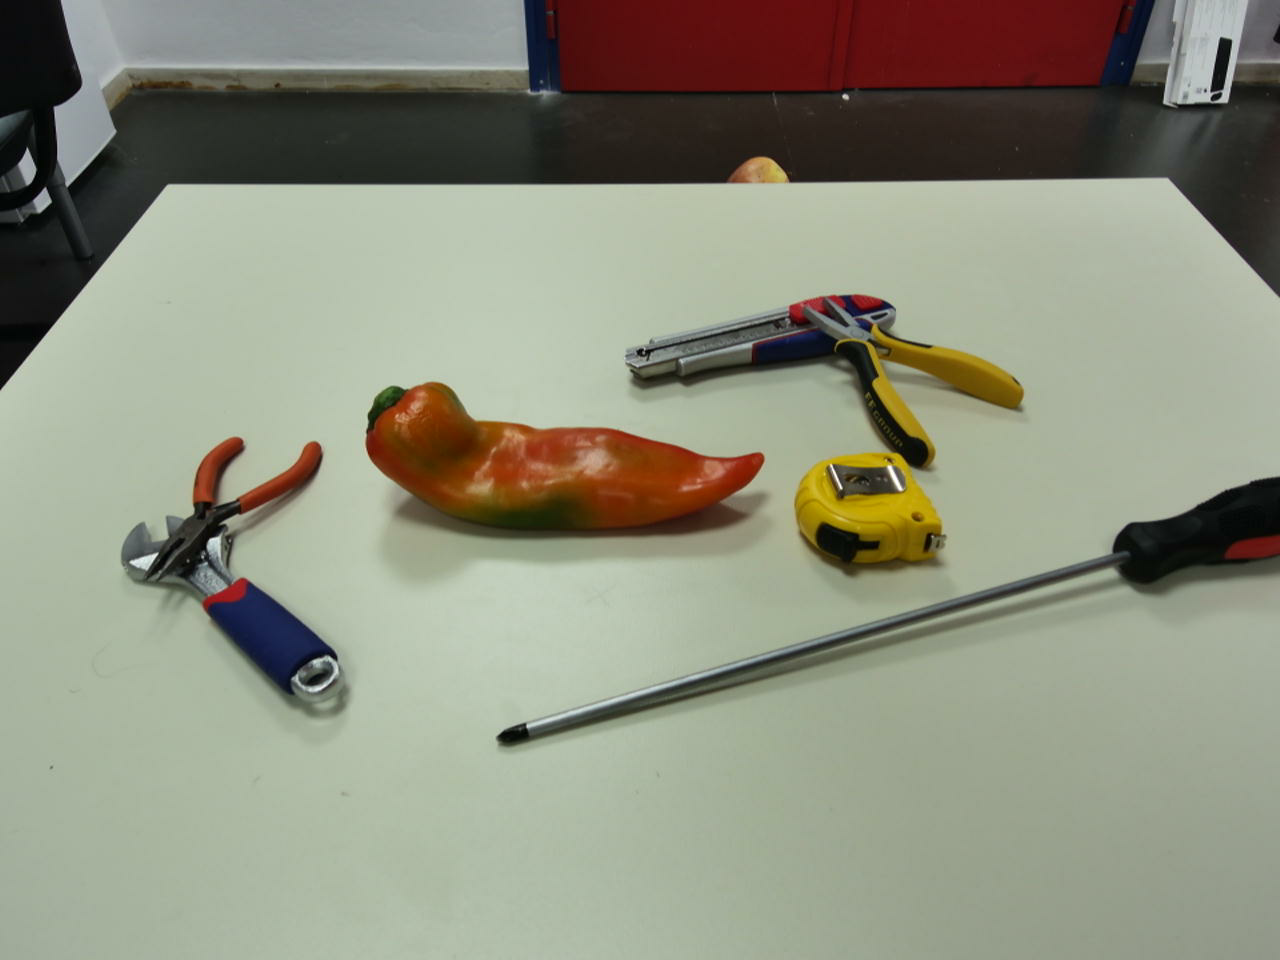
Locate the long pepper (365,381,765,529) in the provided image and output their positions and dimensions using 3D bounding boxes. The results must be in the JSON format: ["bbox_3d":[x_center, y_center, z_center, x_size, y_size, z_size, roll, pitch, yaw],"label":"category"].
[{"bbox_3d":[-0.037,-0.015,0.501,0.199,0.065,0.066,3,39,4],"label":"long pepper"}]
